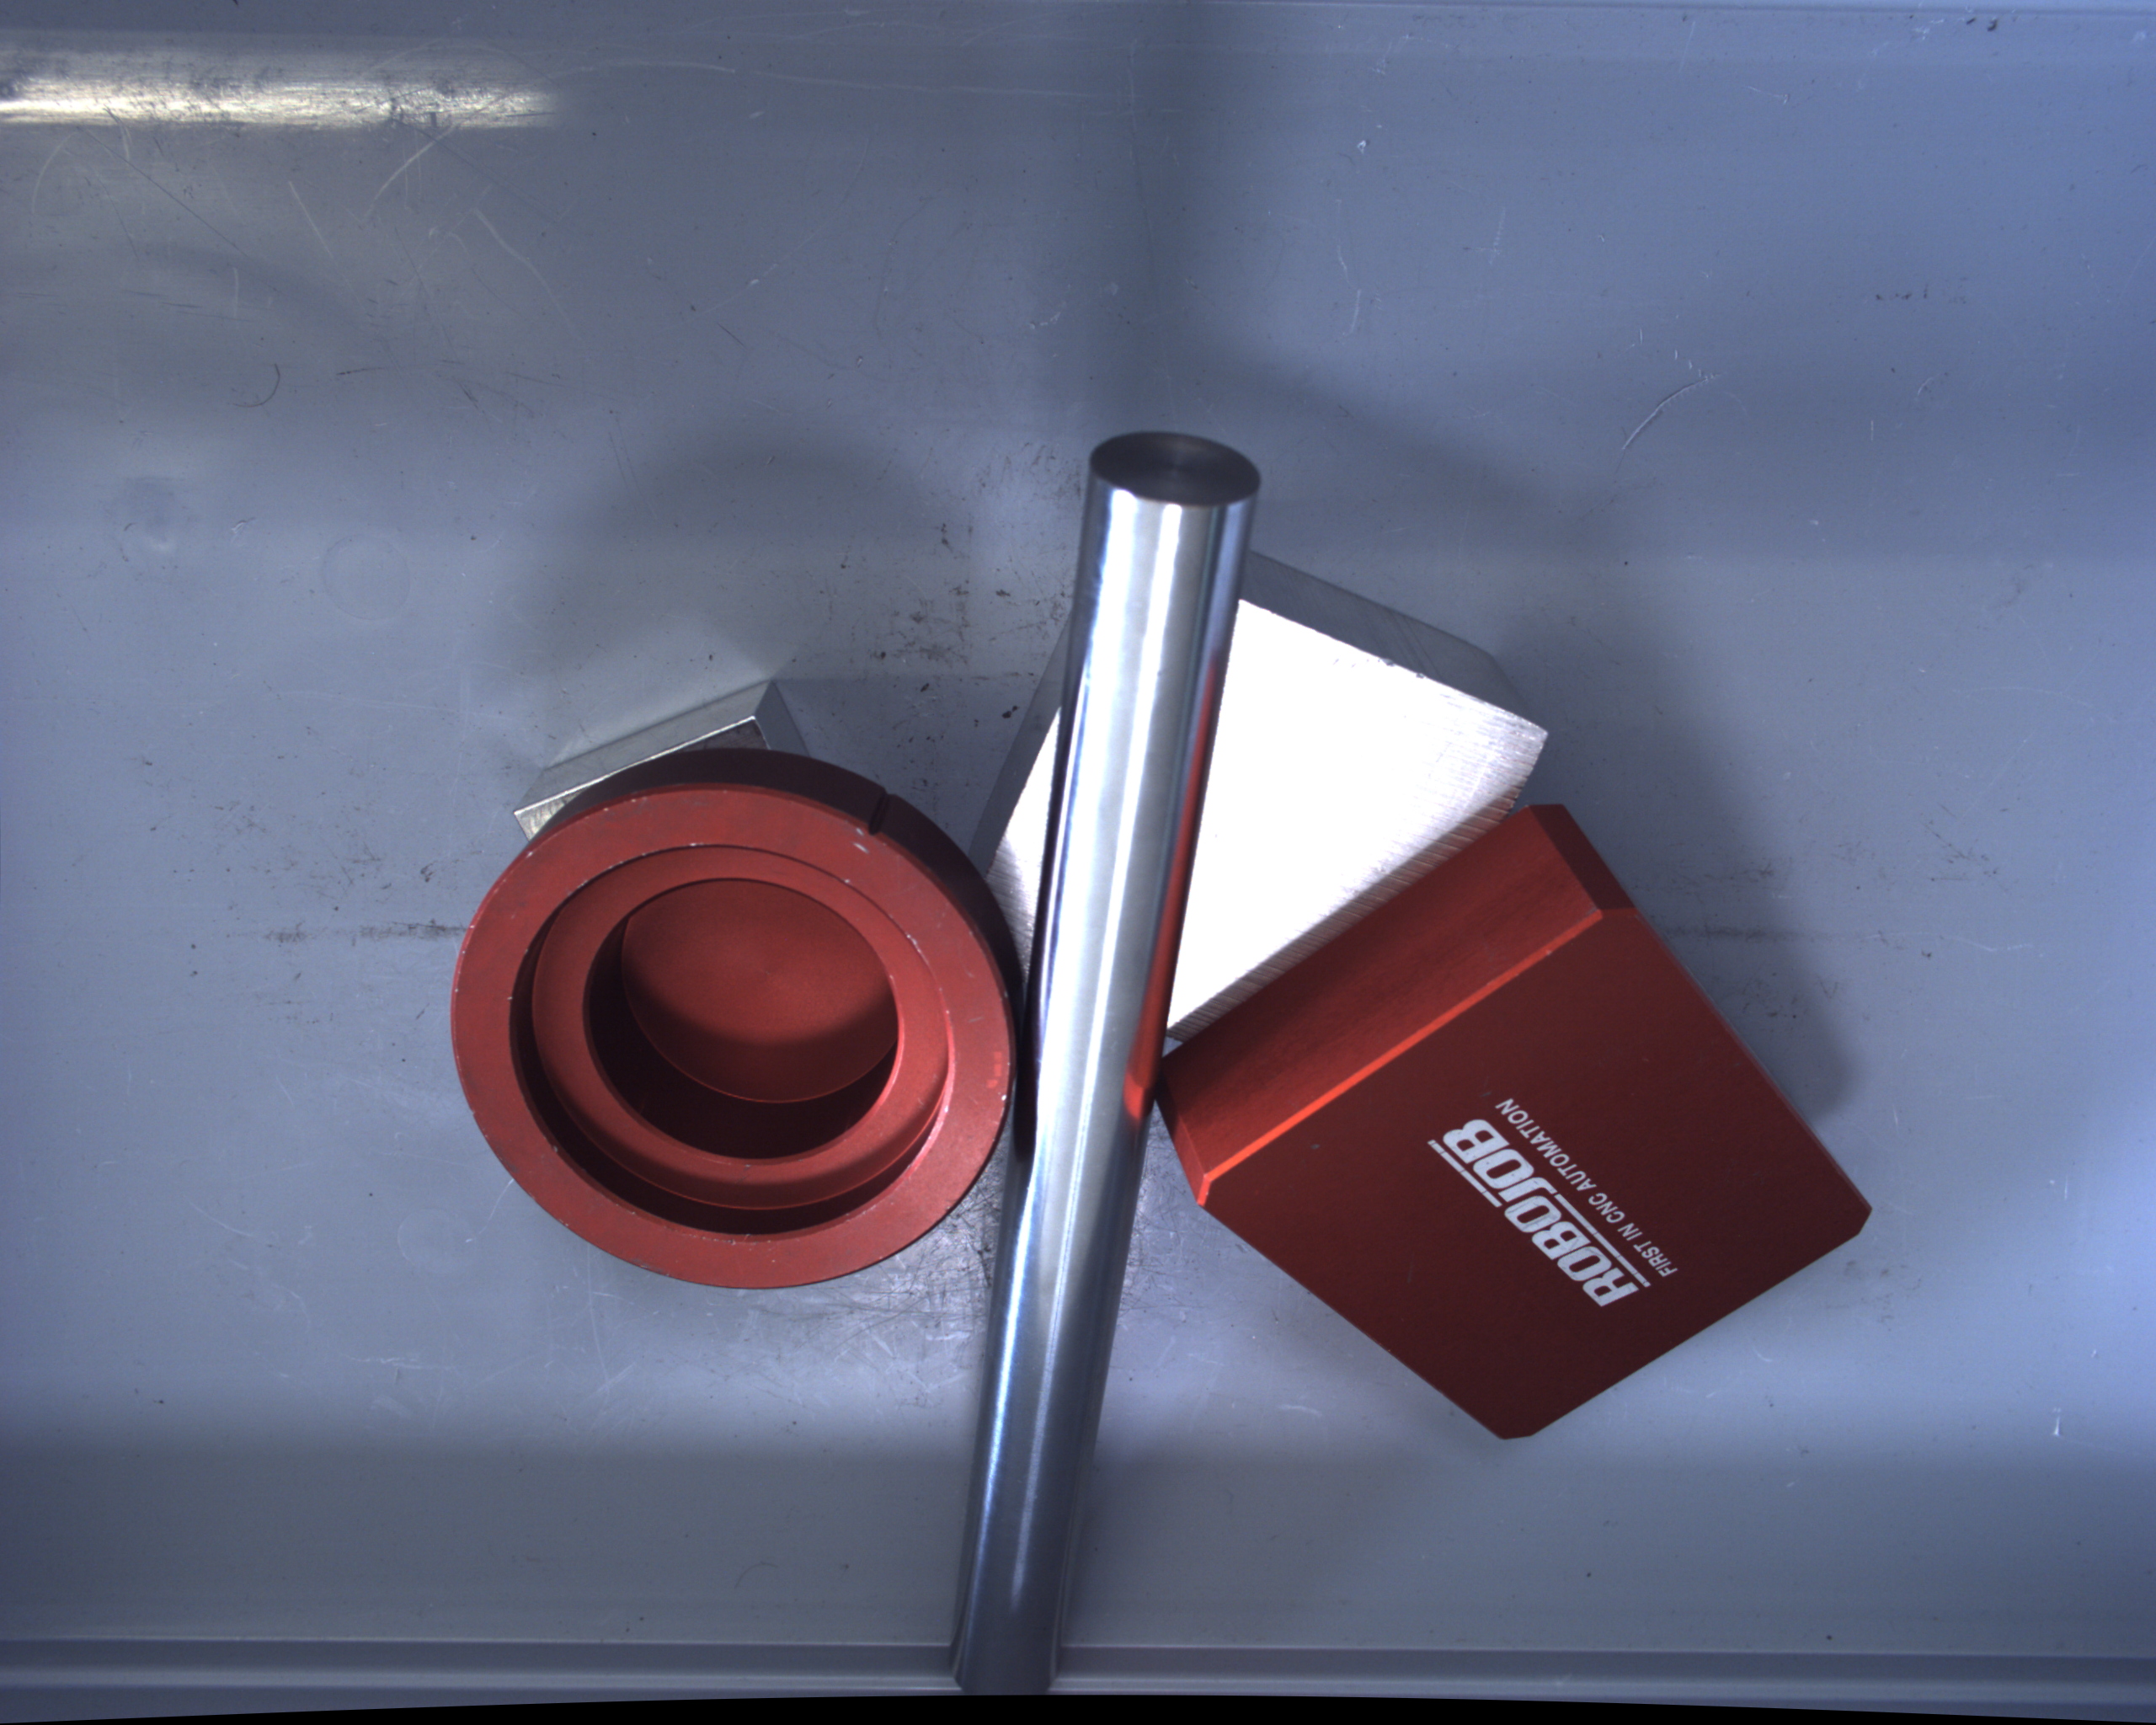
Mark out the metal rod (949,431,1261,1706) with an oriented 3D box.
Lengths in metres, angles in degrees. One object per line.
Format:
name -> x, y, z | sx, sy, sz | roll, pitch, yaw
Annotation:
metal rod -> -0.001, 0.062, 0.390 | 0.025, 0.025, 0.298 | 6, 126, -2

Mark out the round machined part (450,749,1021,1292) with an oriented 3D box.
round machined part -> -0.059, 0.025, 0.380 | 0.099, 0.042, 0.097 | 1, 111, 2

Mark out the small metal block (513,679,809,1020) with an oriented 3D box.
small metal block -> -0.074, -0.001, 0.409 | 0.050, 0.025, 0.050 | -21, 109, 7

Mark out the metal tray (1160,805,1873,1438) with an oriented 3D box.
metal tray -> 0.087, 0.056, 0.401 | 0.090, 0.030, 0.130 | -36, 131, 13

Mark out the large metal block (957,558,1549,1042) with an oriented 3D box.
large metal block -> 0.029, -0.012, 0.392 | 0.080, 0.050, 0.079 | 22, 109, -8
